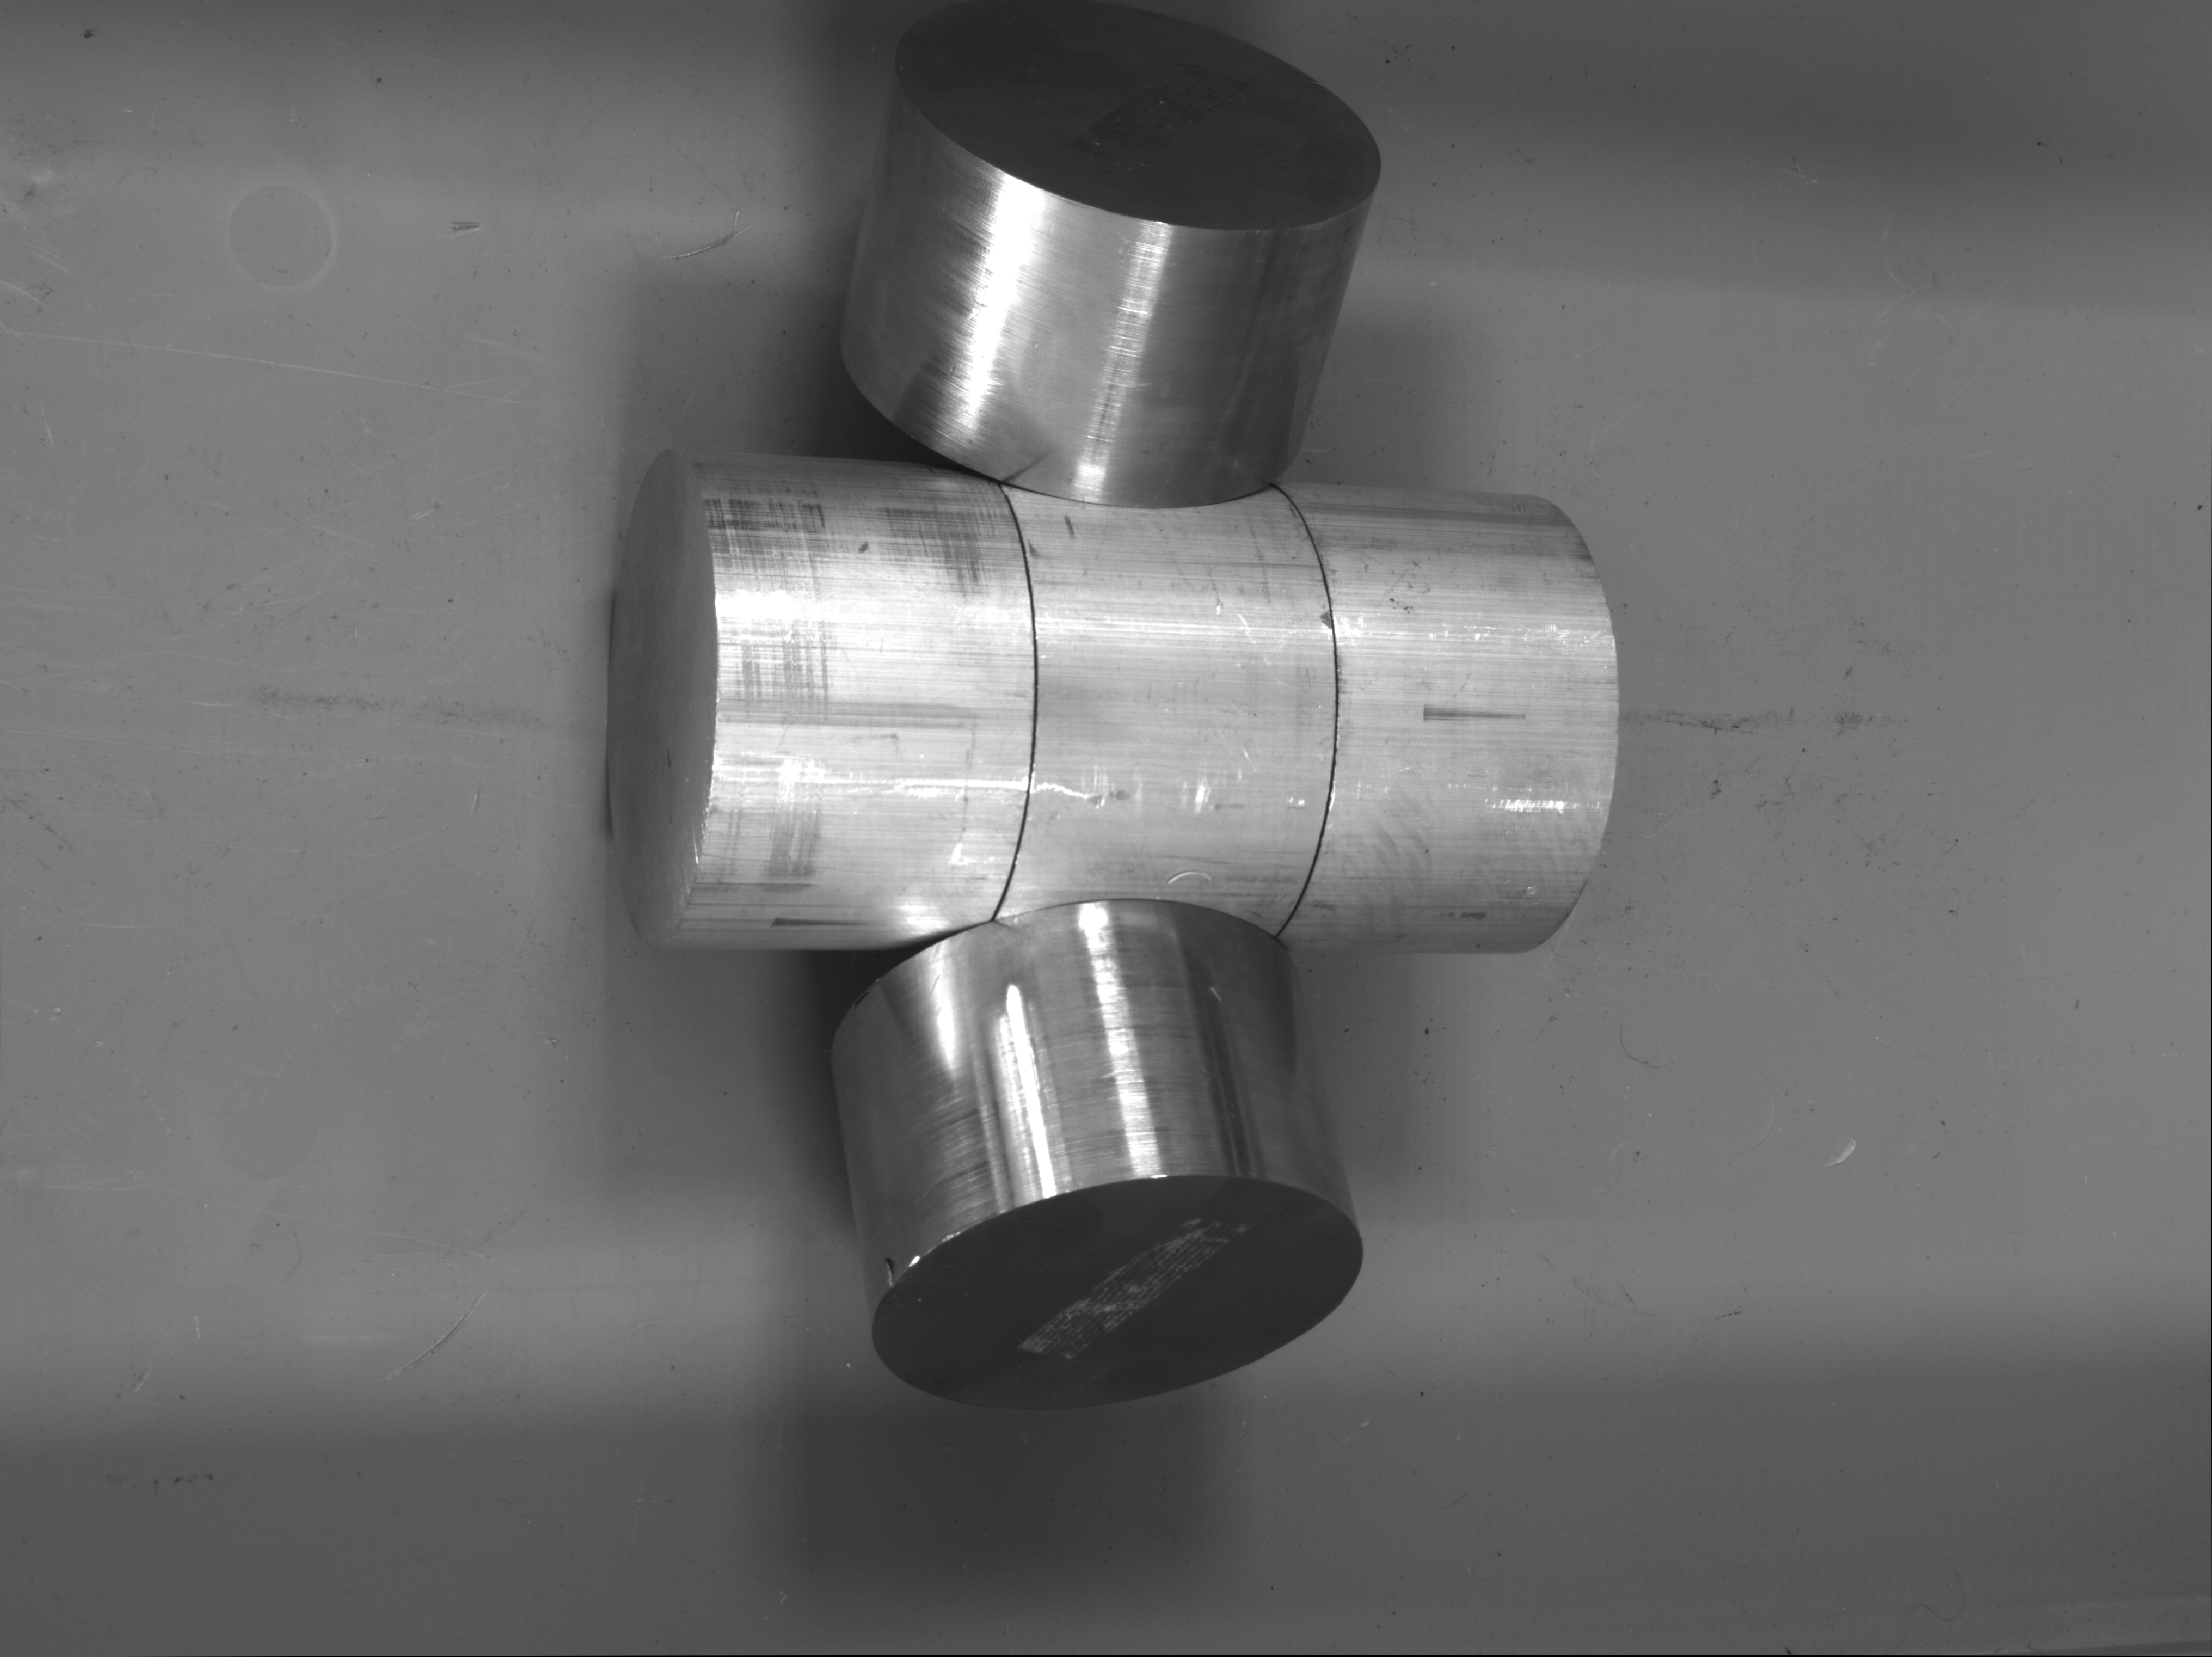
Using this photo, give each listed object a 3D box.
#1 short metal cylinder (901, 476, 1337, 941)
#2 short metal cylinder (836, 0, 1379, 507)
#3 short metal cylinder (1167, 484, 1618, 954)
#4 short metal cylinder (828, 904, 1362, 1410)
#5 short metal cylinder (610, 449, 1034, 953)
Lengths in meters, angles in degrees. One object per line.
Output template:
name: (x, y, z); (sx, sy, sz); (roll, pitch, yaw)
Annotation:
short metal cylinder: (0.000, -0.019, 0.612); (0.050, 0.080, 0.080); (1, 89, -19)
short metal cylinder: (0.000, -0.096, 0.605); (0.080, 0.080, 0.050); (2, 127, -20)
short metal cylinder: (0.047, -0.018, 0.630); (0.050, 0.080, 0.080); (1, 89, -19)
short metal cylinder: (-0.002, 0.055, 0.604); (0.080, 0.080, 0.050); (0, 56, -20)
short metal cylinder: (-0.048, -0.020, 0.595); (0.050, 0.080, 0.080); (1, 89, -19)
